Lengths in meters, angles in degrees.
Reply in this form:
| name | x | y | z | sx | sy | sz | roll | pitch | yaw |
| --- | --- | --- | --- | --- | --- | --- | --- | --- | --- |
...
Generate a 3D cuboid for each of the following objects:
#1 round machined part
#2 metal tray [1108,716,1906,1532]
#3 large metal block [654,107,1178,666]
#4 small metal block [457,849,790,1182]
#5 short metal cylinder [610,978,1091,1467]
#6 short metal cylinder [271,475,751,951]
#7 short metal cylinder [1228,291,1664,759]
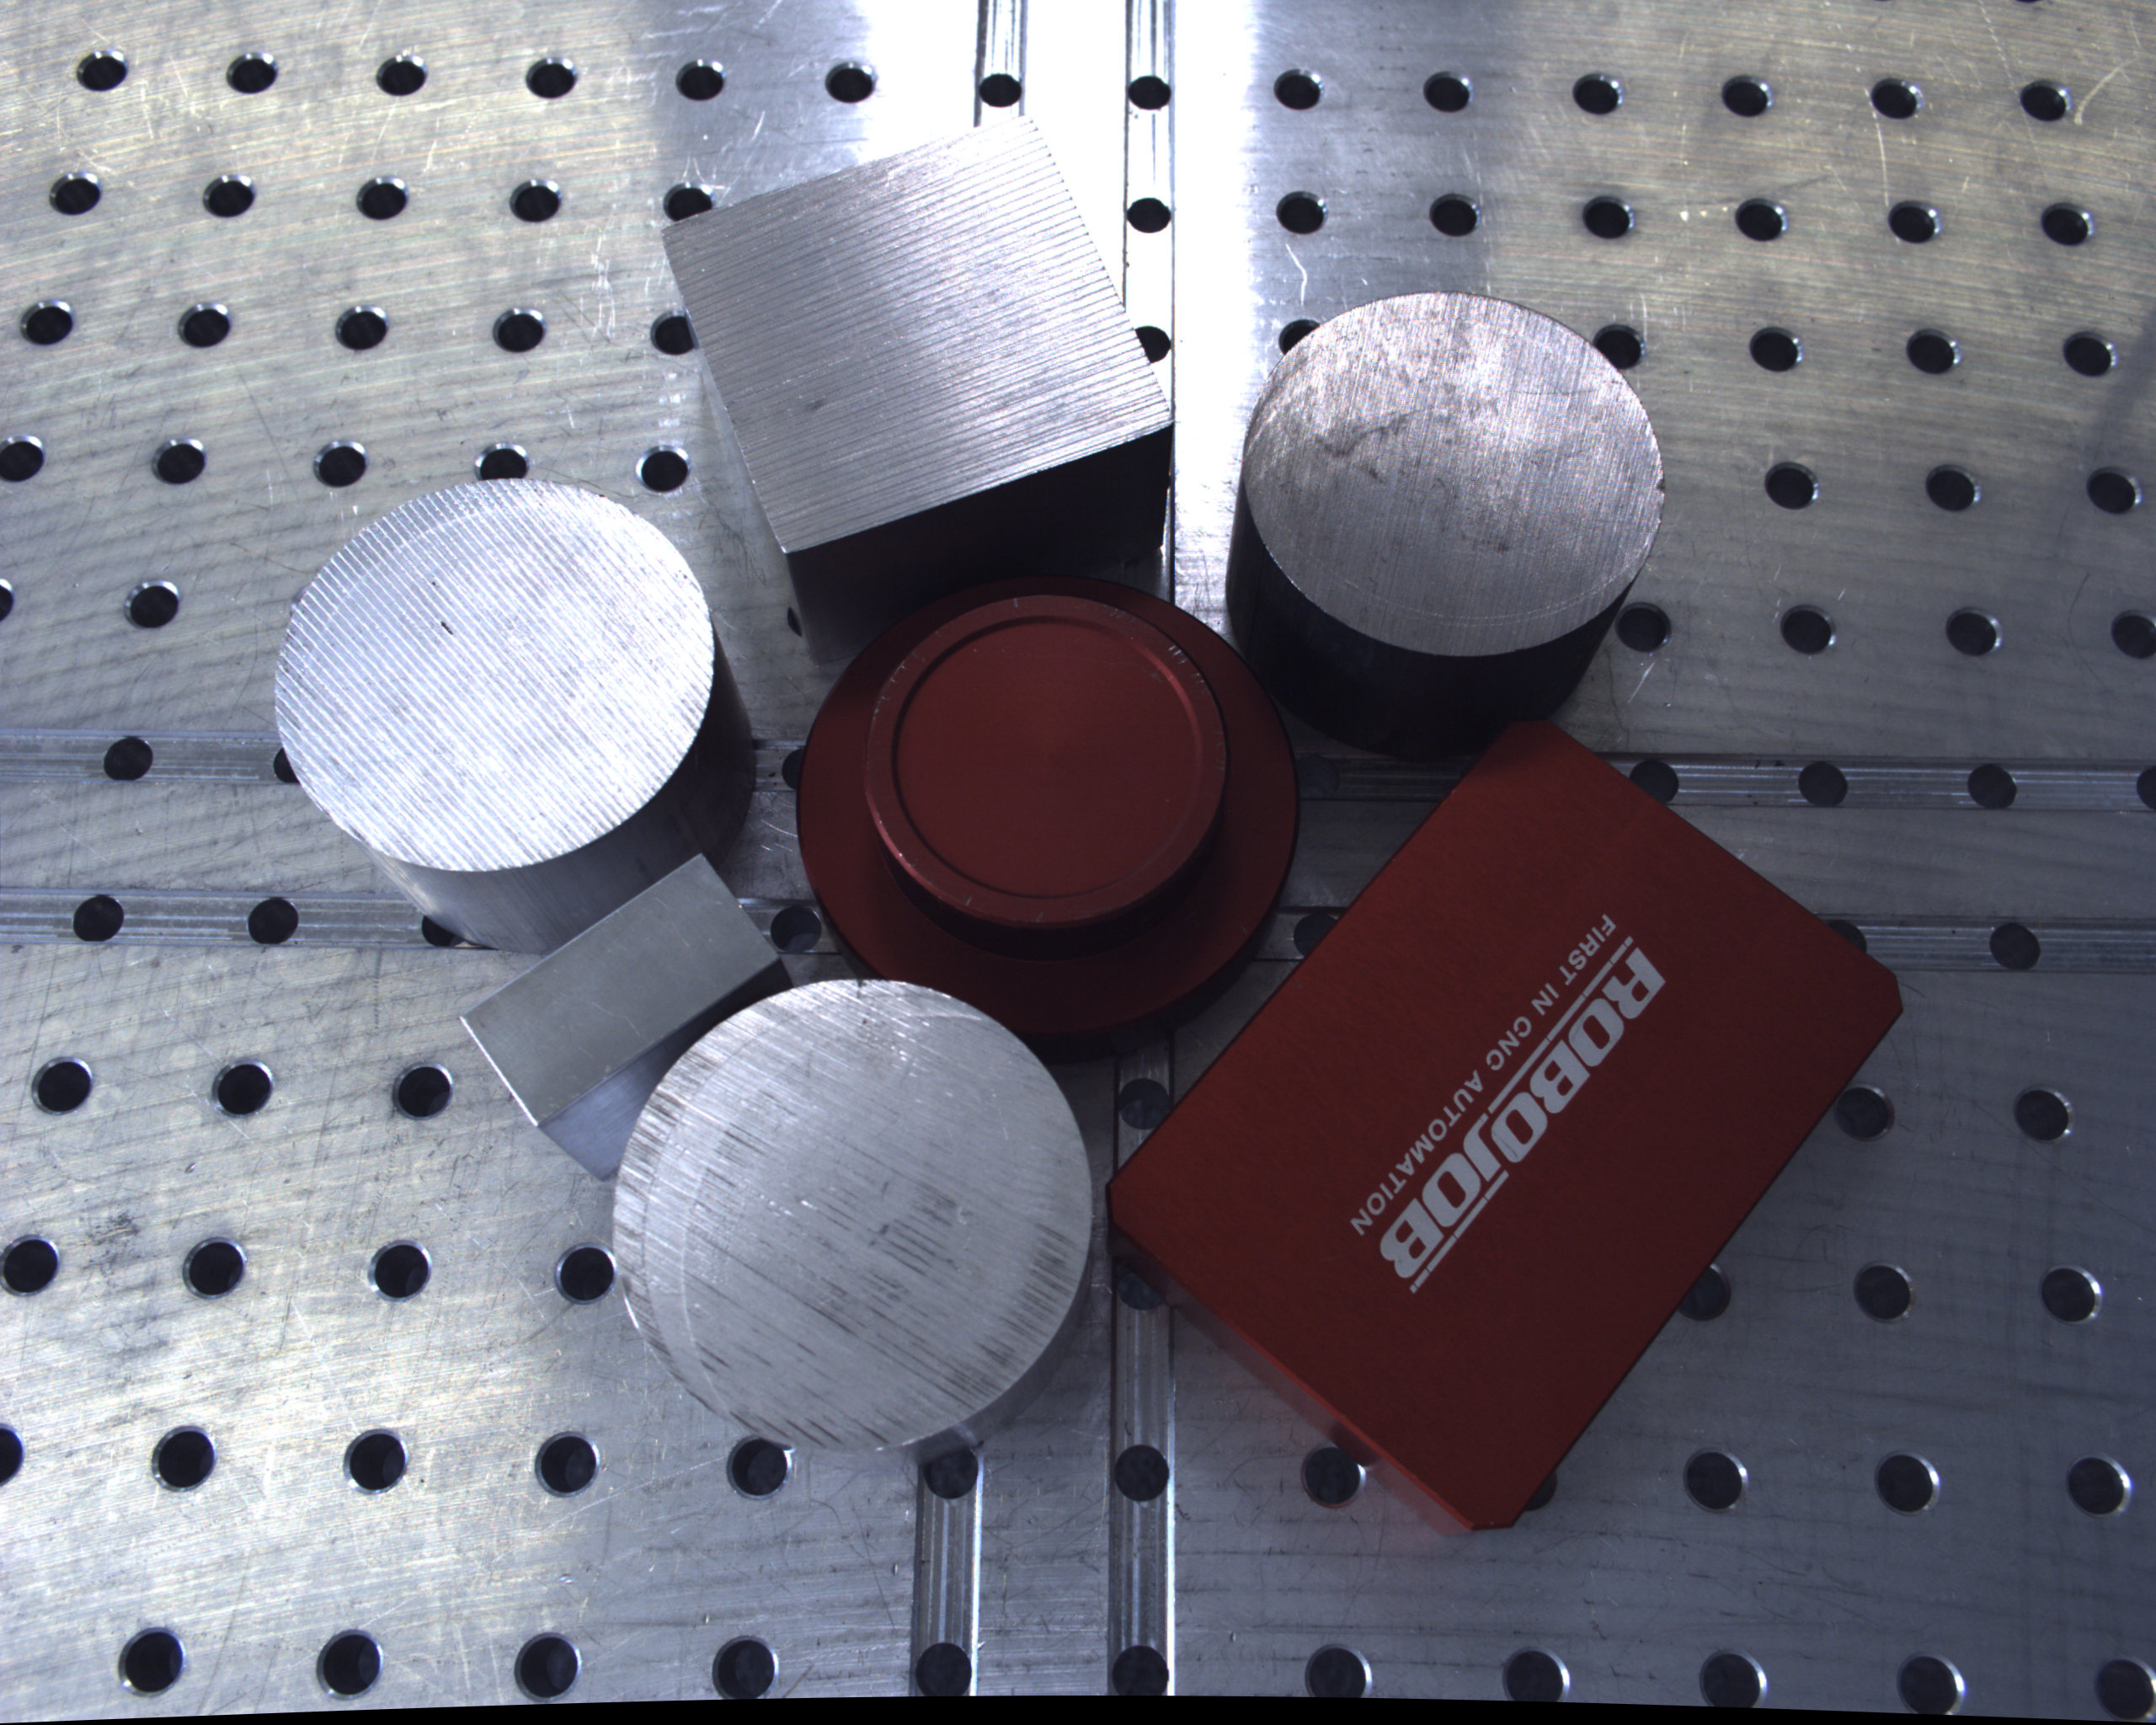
| name | x | y | z | sx | sy | sz | roll | pitch | yaw |
| --- | --- | --- | --- | --- | --- | --- | --- | --- | --- |
| round machined part | -0.006 | -0.013 | 0.407 | 0.099 | 0.042 | 0.098 | 0 | 70 | 0 |
| metal tray | 0.079 | 0.047 | 0.391 | 0.090 | 0.030 | 0.130 | 39 | 74 | 13 |
| large metal block | -0.033 | -0.098 | 0.434 | 0.080 | 0.050 | 0.080 | -20 | 71 | -7 |
| small metal block | -0.080 | 0.029 | 0.386 | 0.050 | 0.050 | 0.025 | -36 | 74 | -12 |
| short metal cylinder | -0.038 | 0.066 | 0.373 | 0.081 | 0.050 | 0.080 | 0 | 70 | 0 |
| short metal cylinder | -0.108 | -0.028 | 0.407 | 0.081 | 0.050 | 0.080 | 0 | 70 | 0 |
| short metal cylinder | 0.072 | -0.067 | 0.423 | 0.081 | 0.050 | 0.080 | 0 | 70 | 0 |
